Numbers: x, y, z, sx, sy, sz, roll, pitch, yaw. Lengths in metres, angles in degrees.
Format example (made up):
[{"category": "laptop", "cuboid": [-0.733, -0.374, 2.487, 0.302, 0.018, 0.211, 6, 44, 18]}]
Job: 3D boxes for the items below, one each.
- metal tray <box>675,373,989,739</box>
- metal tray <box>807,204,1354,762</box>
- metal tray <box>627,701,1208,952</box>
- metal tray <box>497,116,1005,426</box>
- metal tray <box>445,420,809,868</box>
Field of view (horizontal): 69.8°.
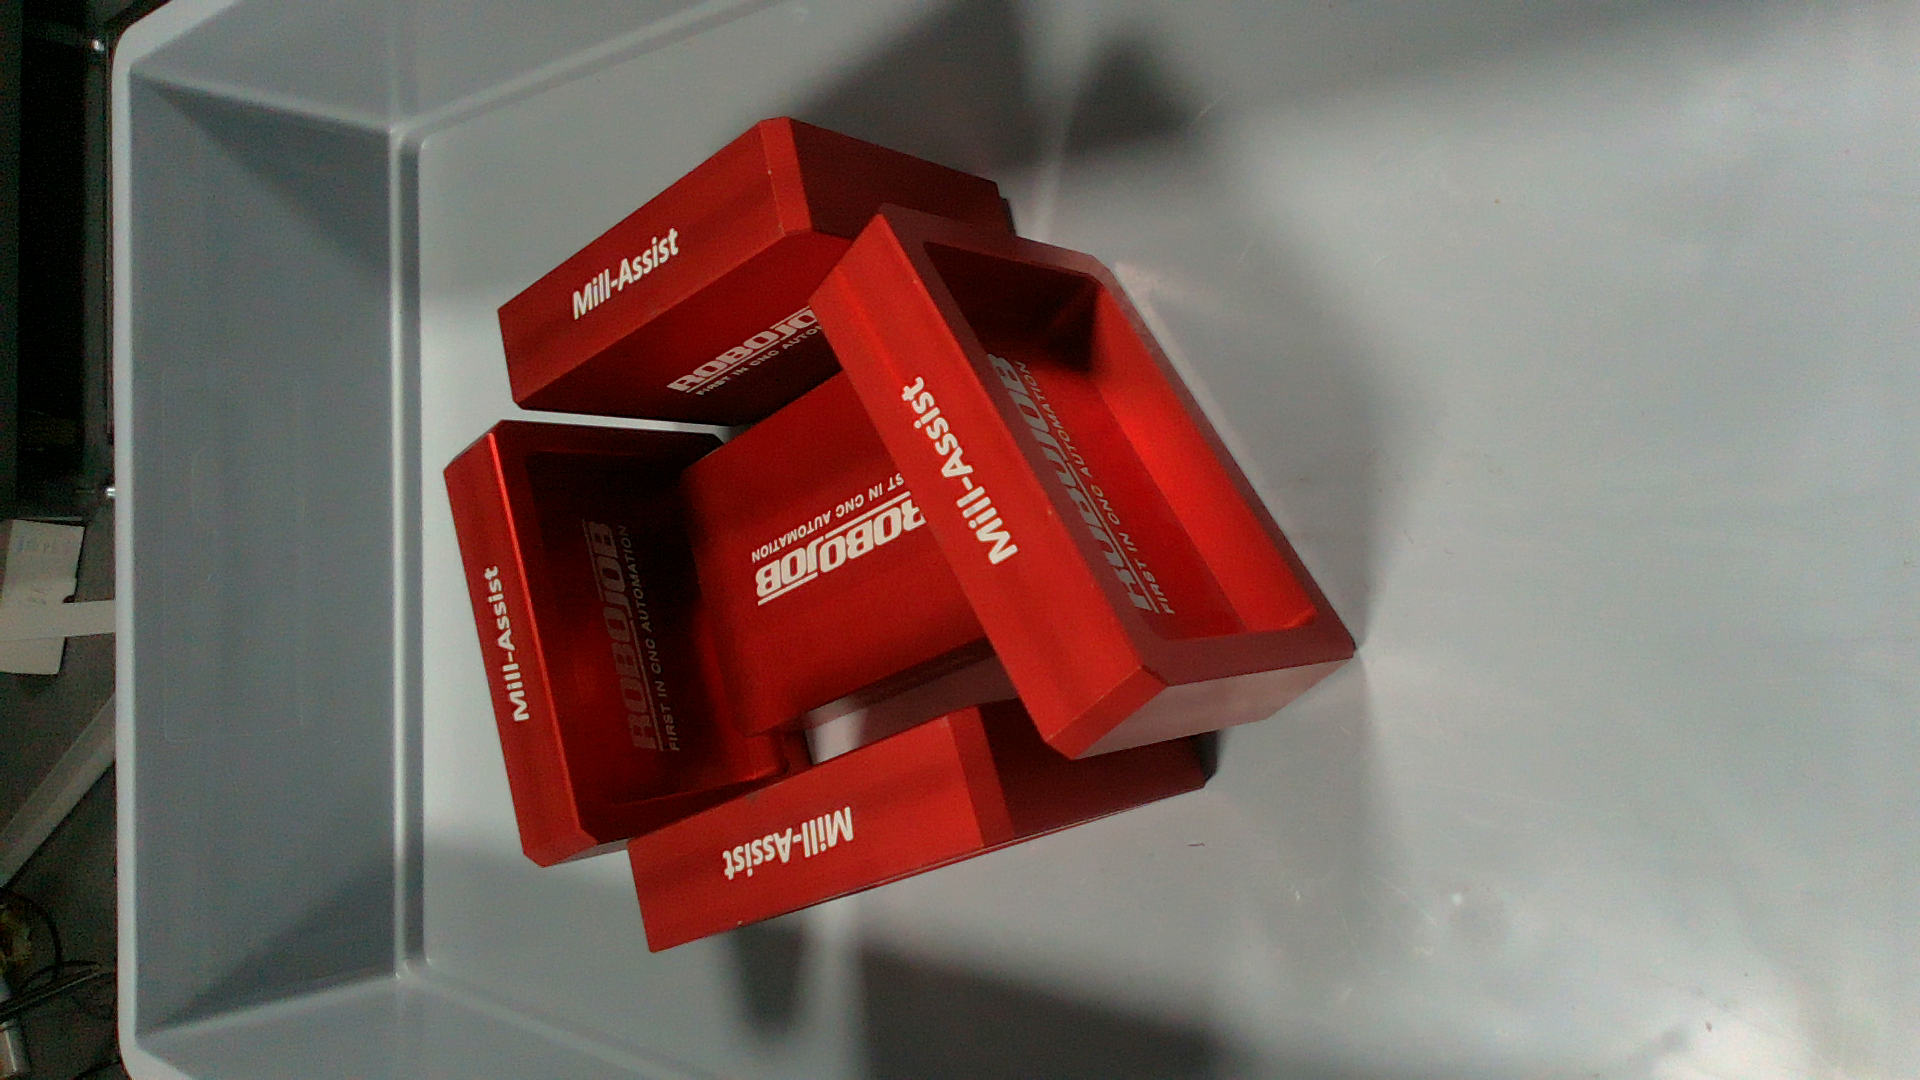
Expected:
[{"category": "metal tray", "cuboid": [-0.027, -0.001, 0.411, 0.129, 0.030, 0.090, -26, 74, 37]}, {"category": "metal tray", "cuboid": [0.029, -0.016, 0.326, 0.030, 0.090, 0.130, -44, 64, 32]}, {"category": "metal tray", "cuboid": [-0.013, 0.073, 0.361, 0.130, 0.090, 0.030, -26, 73, 37]}, {"category": "metal tray", "cuboid": [-0.061, -0.071, 0.401, 0.129, 0.090, 0.030, -21, 77, 38]}, {"category": "metal tray", "cuboid": [-0.104, 0.030, 0.437, 0.030, 0.090, 0.130, -27, 73, 37]}]
